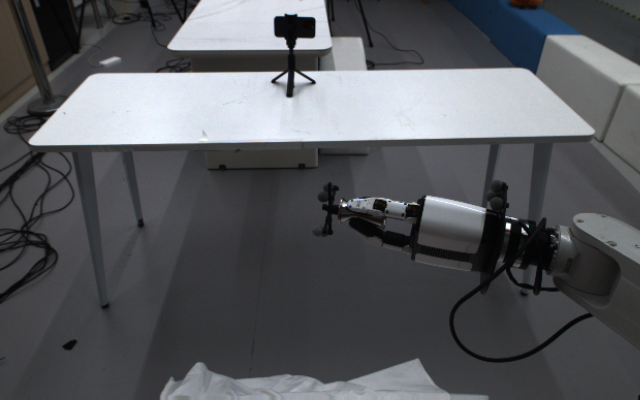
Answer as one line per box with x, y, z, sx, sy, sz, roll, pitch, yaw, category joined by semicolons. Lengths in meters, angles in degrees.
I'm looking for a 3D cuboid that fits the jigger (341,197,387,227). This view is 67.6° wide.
0.071;0.015;0.724;0.071;0.043;0.043;6;35;13;jigger
